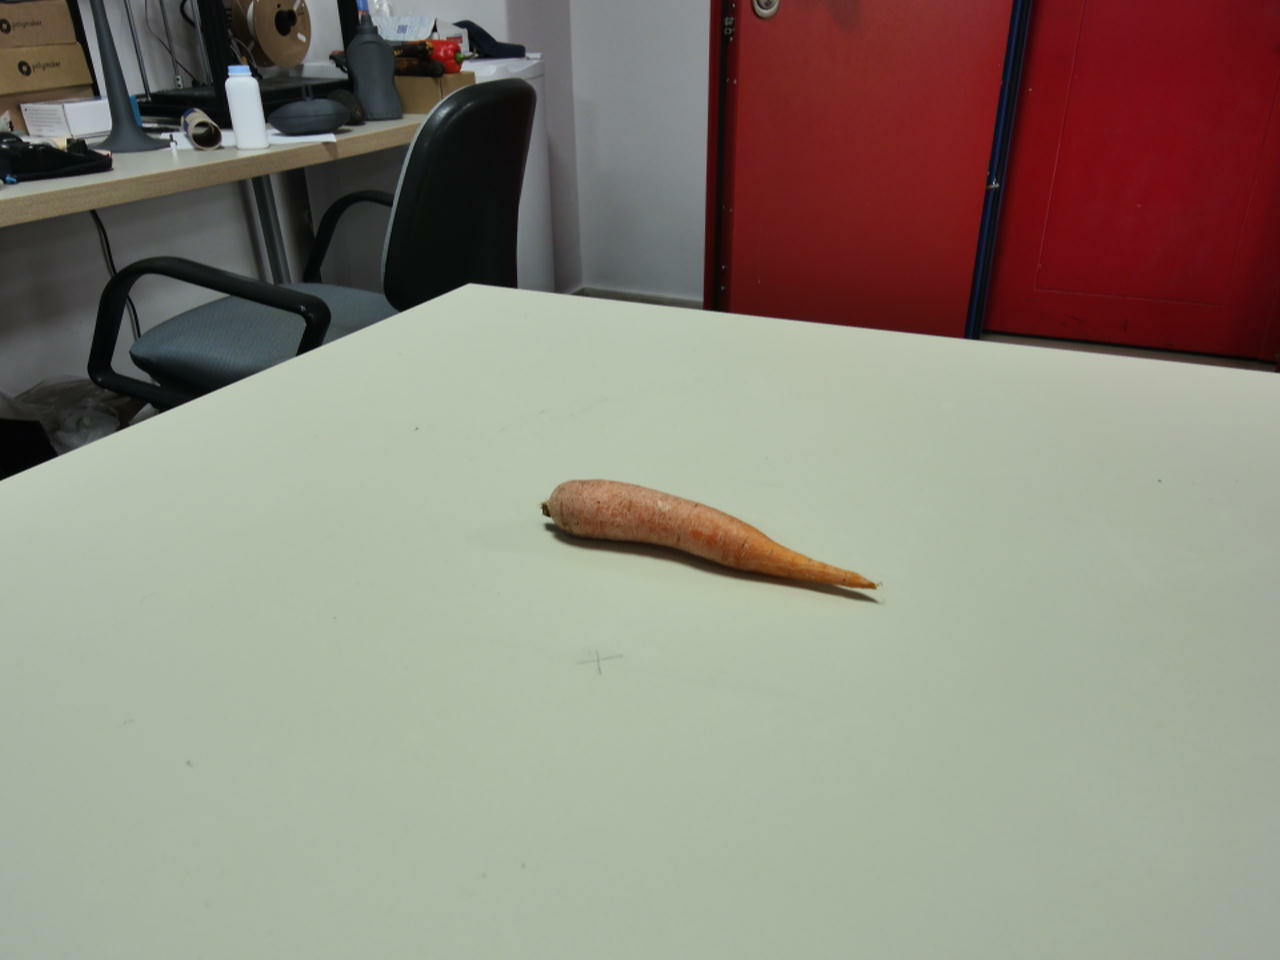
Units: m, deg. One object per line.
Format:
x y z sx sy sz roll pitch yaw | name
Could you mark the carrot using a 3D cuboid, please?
0.027 0.023 0.451 0.163 0.029 0.031 11 26 23 | carrot
